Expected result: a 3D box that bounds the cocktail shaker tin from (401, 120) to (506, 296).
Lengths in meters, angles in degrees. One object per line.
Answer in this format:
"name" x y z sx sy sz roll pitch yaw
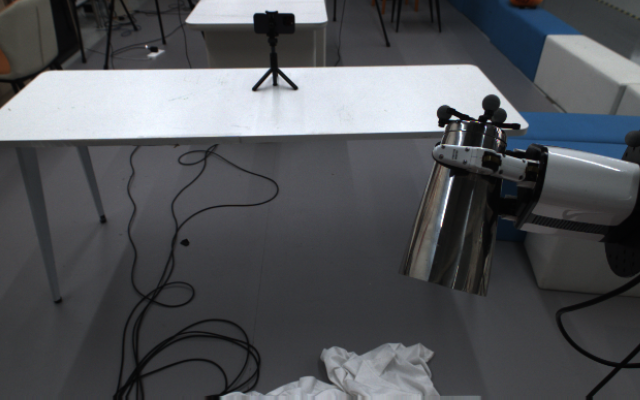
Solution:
"cocktail shaker tin" 0.151 0.005 0.520 0.093 0.170 0.093 14 -5 1
